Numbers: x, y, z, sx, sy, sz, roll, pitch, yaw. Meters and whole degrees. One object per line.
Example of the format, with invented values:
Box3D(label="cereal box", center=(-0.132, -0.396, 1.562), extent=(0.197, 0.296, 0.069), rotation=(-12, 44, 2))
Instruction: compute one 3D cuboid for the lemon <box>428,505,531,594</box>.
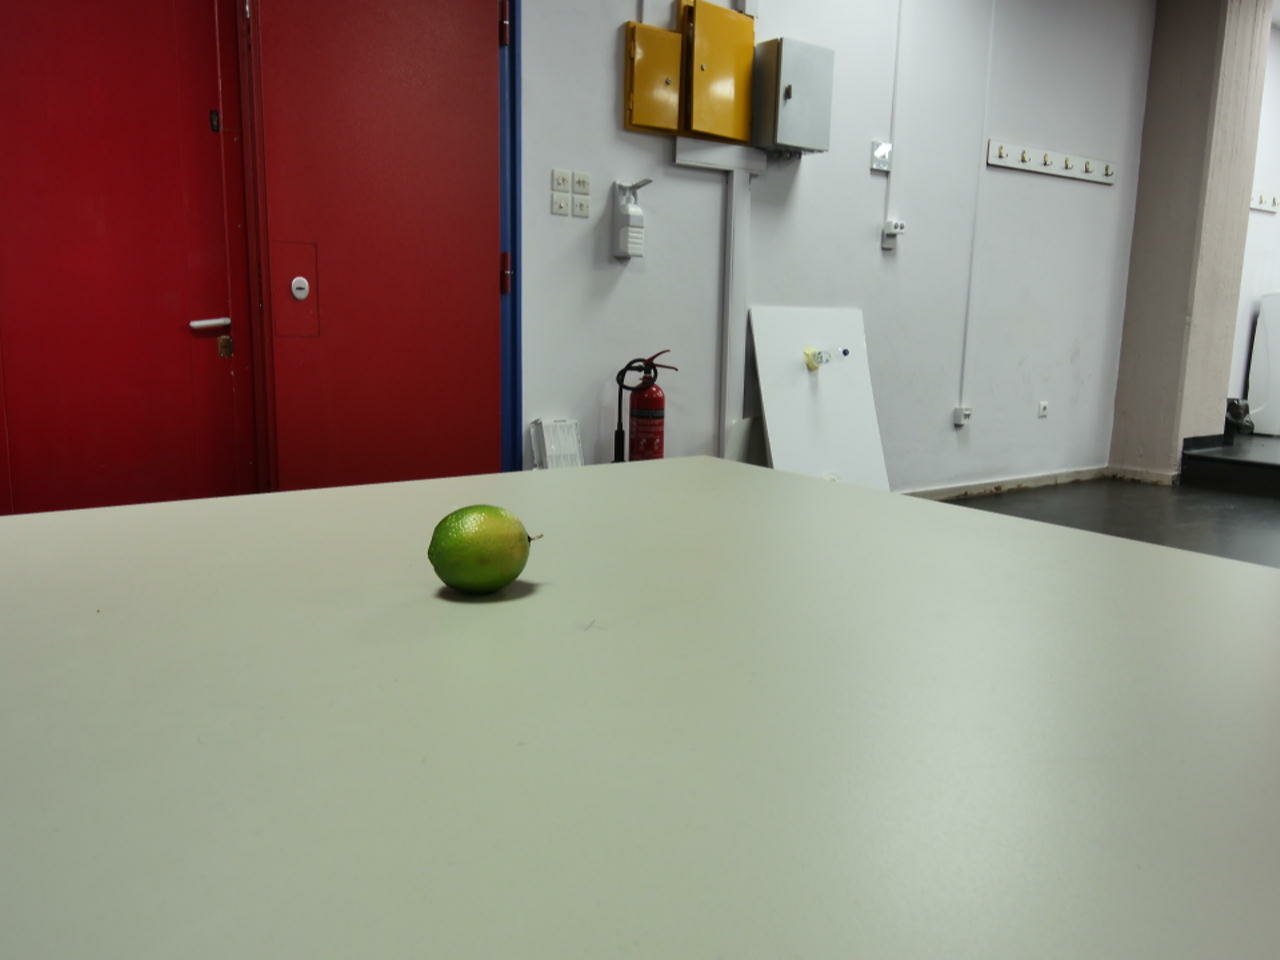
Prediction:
Box3D(label="lemon", center=(-0.092, 0.039, 0.576), extent=(0.055, 0.050, 0.054), rotation=(1, 8, 14))
